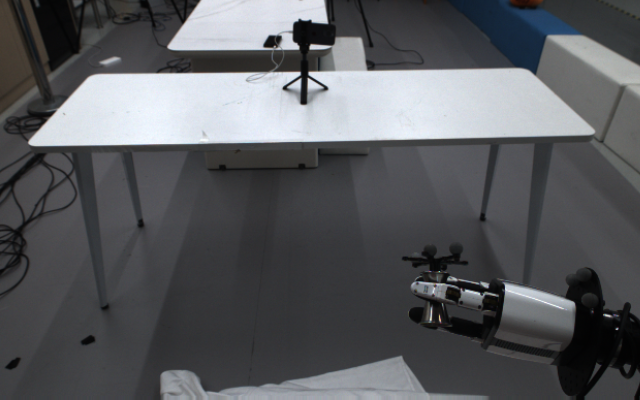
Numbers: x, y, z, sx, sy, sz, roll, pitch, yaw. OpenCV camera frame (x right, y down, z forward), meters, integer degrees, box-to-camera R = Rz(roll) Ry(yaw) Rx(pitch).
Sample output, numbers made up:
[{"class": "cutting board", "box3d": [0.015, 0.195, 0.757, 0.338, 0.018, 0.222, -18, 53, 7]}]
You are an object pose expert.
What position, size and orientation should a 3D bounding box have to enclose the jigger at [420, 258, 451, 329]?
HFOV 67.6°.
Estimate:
[{"class": "jigger", "box3d": [0.152, 0.129, 0.645, 0.043, 0.043, 0.071, 4, 71, 2]}]
